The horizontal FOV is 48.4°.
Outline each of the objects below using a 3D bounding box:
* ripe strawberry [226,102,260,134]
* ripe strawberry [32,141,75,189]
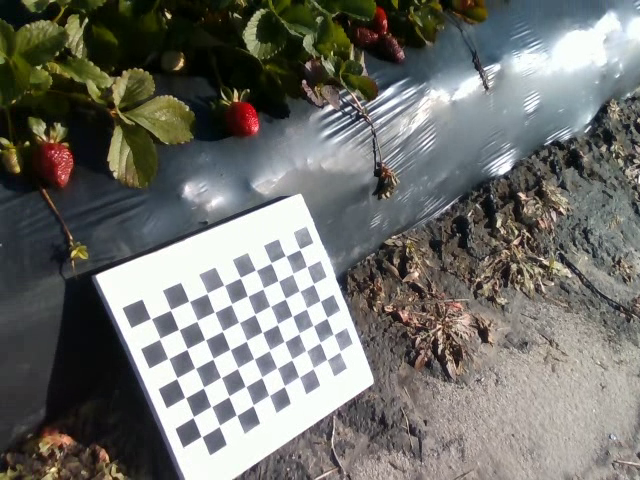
[{"bbox_3d":[-0.082,-0.129,0.759,0.042,0.043,0.050,18,24,-36],"label":"ripe strawberry"},{"bbox_3d":[-0.242,-0.068,0.642,0.041,0.043,0.053,-11,46,-40],"label":"ripe strawberry"}]
